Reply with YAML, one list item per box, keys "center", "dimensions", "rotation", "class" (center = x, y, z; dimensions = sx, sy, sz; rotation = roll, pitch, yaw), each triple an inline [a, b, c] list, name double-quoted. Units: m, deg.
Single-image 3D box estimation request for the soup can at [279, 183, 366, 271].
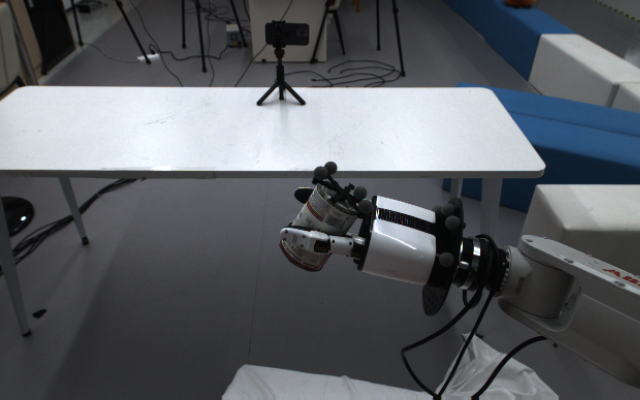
- center: [0.002, 0.035, 0.634]
  dimensions: [0.067, 0.101, 0.067]
  rotation: [28, 22, -12]
  class: "soup can"
